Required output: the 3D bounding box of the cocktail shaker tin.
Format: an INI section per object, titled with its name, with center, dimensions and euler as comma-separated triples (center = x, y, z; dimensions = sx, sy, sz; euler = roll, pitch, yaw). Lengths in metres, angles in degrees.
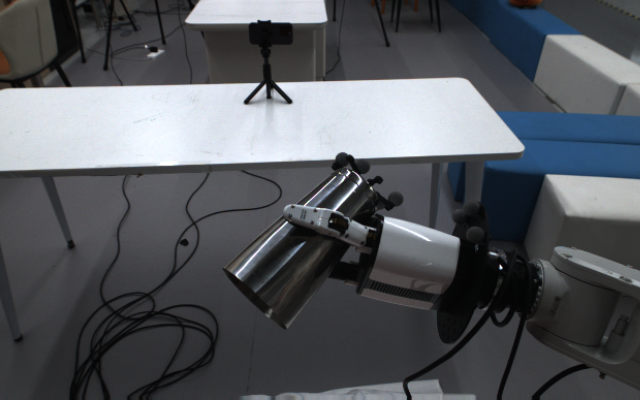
[cocktail shaker tin]
center = -0.012, 0.040, 0.527
dimensions = 0.093, 0.093, 0.170
euler = 32, 66, 35
